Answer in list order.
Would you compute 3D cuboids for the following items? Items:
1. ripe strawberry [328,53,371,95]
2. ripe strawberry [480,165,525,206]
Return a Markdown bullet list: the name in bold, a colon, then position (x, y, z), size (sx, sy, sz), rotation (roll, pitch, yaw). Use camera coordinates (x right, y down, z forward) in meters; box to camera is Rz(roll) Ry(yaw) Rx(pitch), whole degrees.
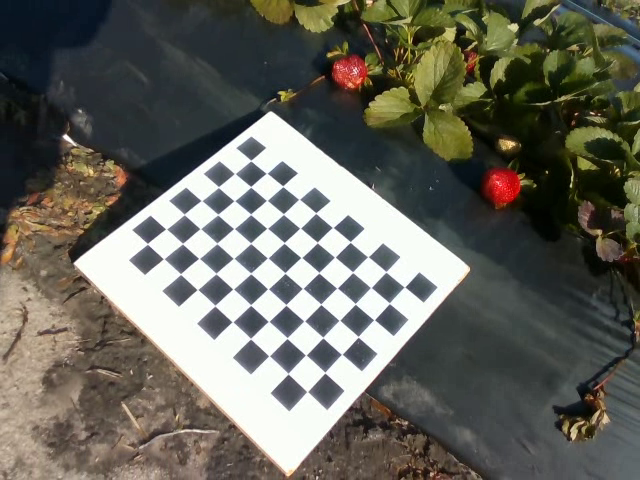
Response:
- **ripe strawberry**: position (0.027, -0.185, 0.655), size (0.043, 0.042, 0.053), rotation (-46, -18, 25)
- **ripe strawberry**: position (0.173, -0.054, 0.590), size (0.043, 0.043, 0.050), rotation (-27, -26, 29)
